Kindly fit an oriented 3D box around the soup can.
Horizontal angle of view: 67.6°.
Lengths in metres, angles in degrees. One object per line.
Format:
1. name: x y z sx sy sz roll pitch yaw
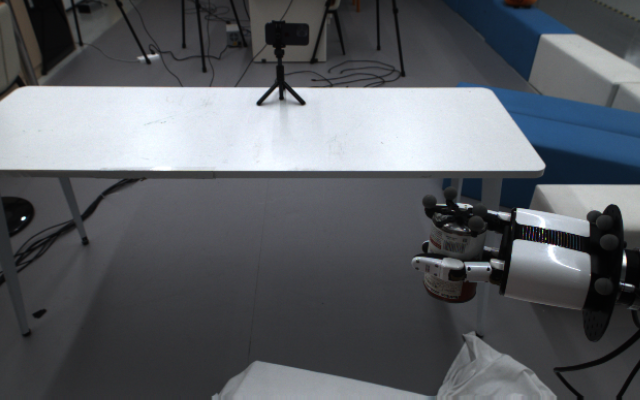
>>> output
1. soup can: 0.171 0.068 0.610 0.067 0.101 0.067 1 25 0
